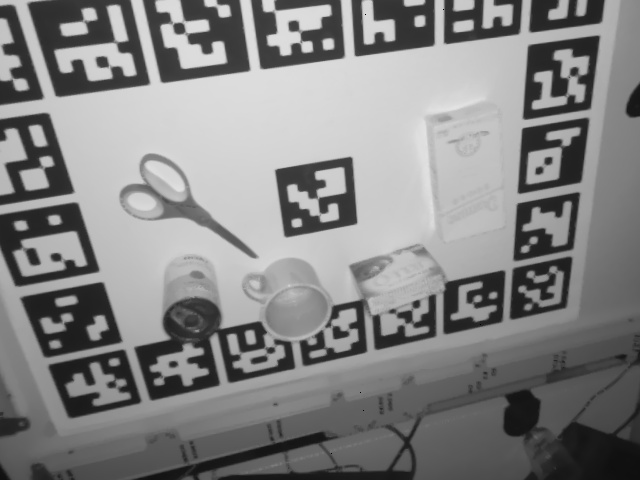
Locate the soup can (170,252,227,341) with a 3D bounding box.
[{"bbox_3d":[-0.149,0.067,0.854,0.068,0.102,0.067,-6,119,-10],"label":"soup can"}]

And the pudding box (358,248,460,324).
[{"bbox_3d":[0.115,0.059,0.905,0.114,0.090,0.038,-18,112,-3],"label":"pudding box"}]

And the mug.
[{"bbox_3d":[-0.033,0.081,0.891,0.093,0.081,0.118,-43,118,8],"label":"mug"}]

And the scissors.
[{"bbox_3d":[-0.142,-0.036,0.843,0.204,0.016,0.087,37,94,-25],"label":"scissors"}]

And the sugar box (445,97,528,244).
[{"bbox_3d":[0.216,-0.086,0.890,0.093,0.045,0.175,-14,117,-8],"label":"sugar box"}]
